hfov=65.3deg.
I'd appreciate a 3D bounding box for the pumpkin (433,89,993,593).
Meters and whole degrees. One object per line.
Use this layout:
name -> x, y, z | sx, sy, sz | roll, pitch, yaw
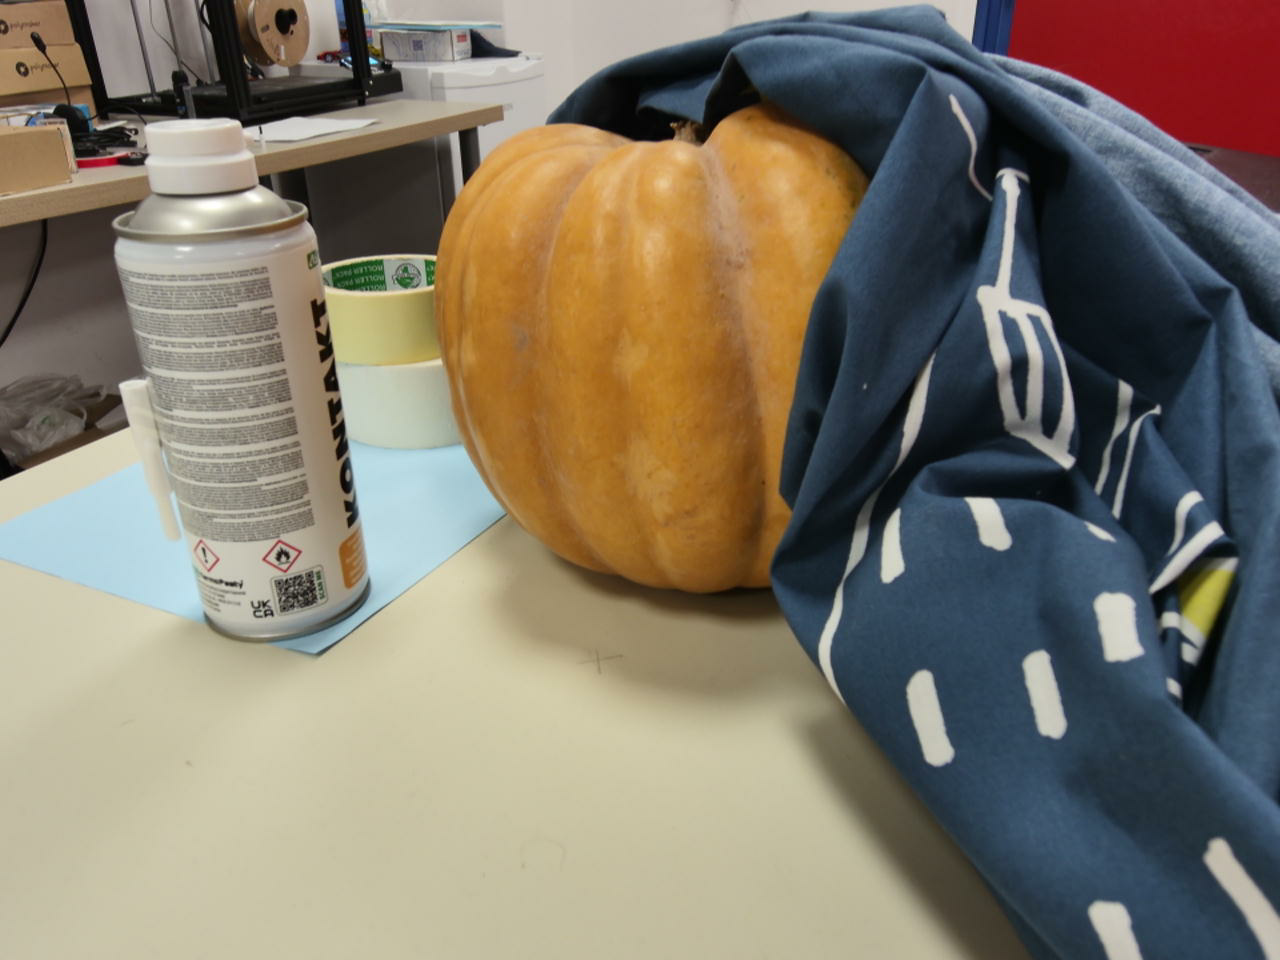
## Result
pumpkin -> 0.030, -0.058, 0.413 | 0.230, 0.194, 0.230 | 0, 24, 0
